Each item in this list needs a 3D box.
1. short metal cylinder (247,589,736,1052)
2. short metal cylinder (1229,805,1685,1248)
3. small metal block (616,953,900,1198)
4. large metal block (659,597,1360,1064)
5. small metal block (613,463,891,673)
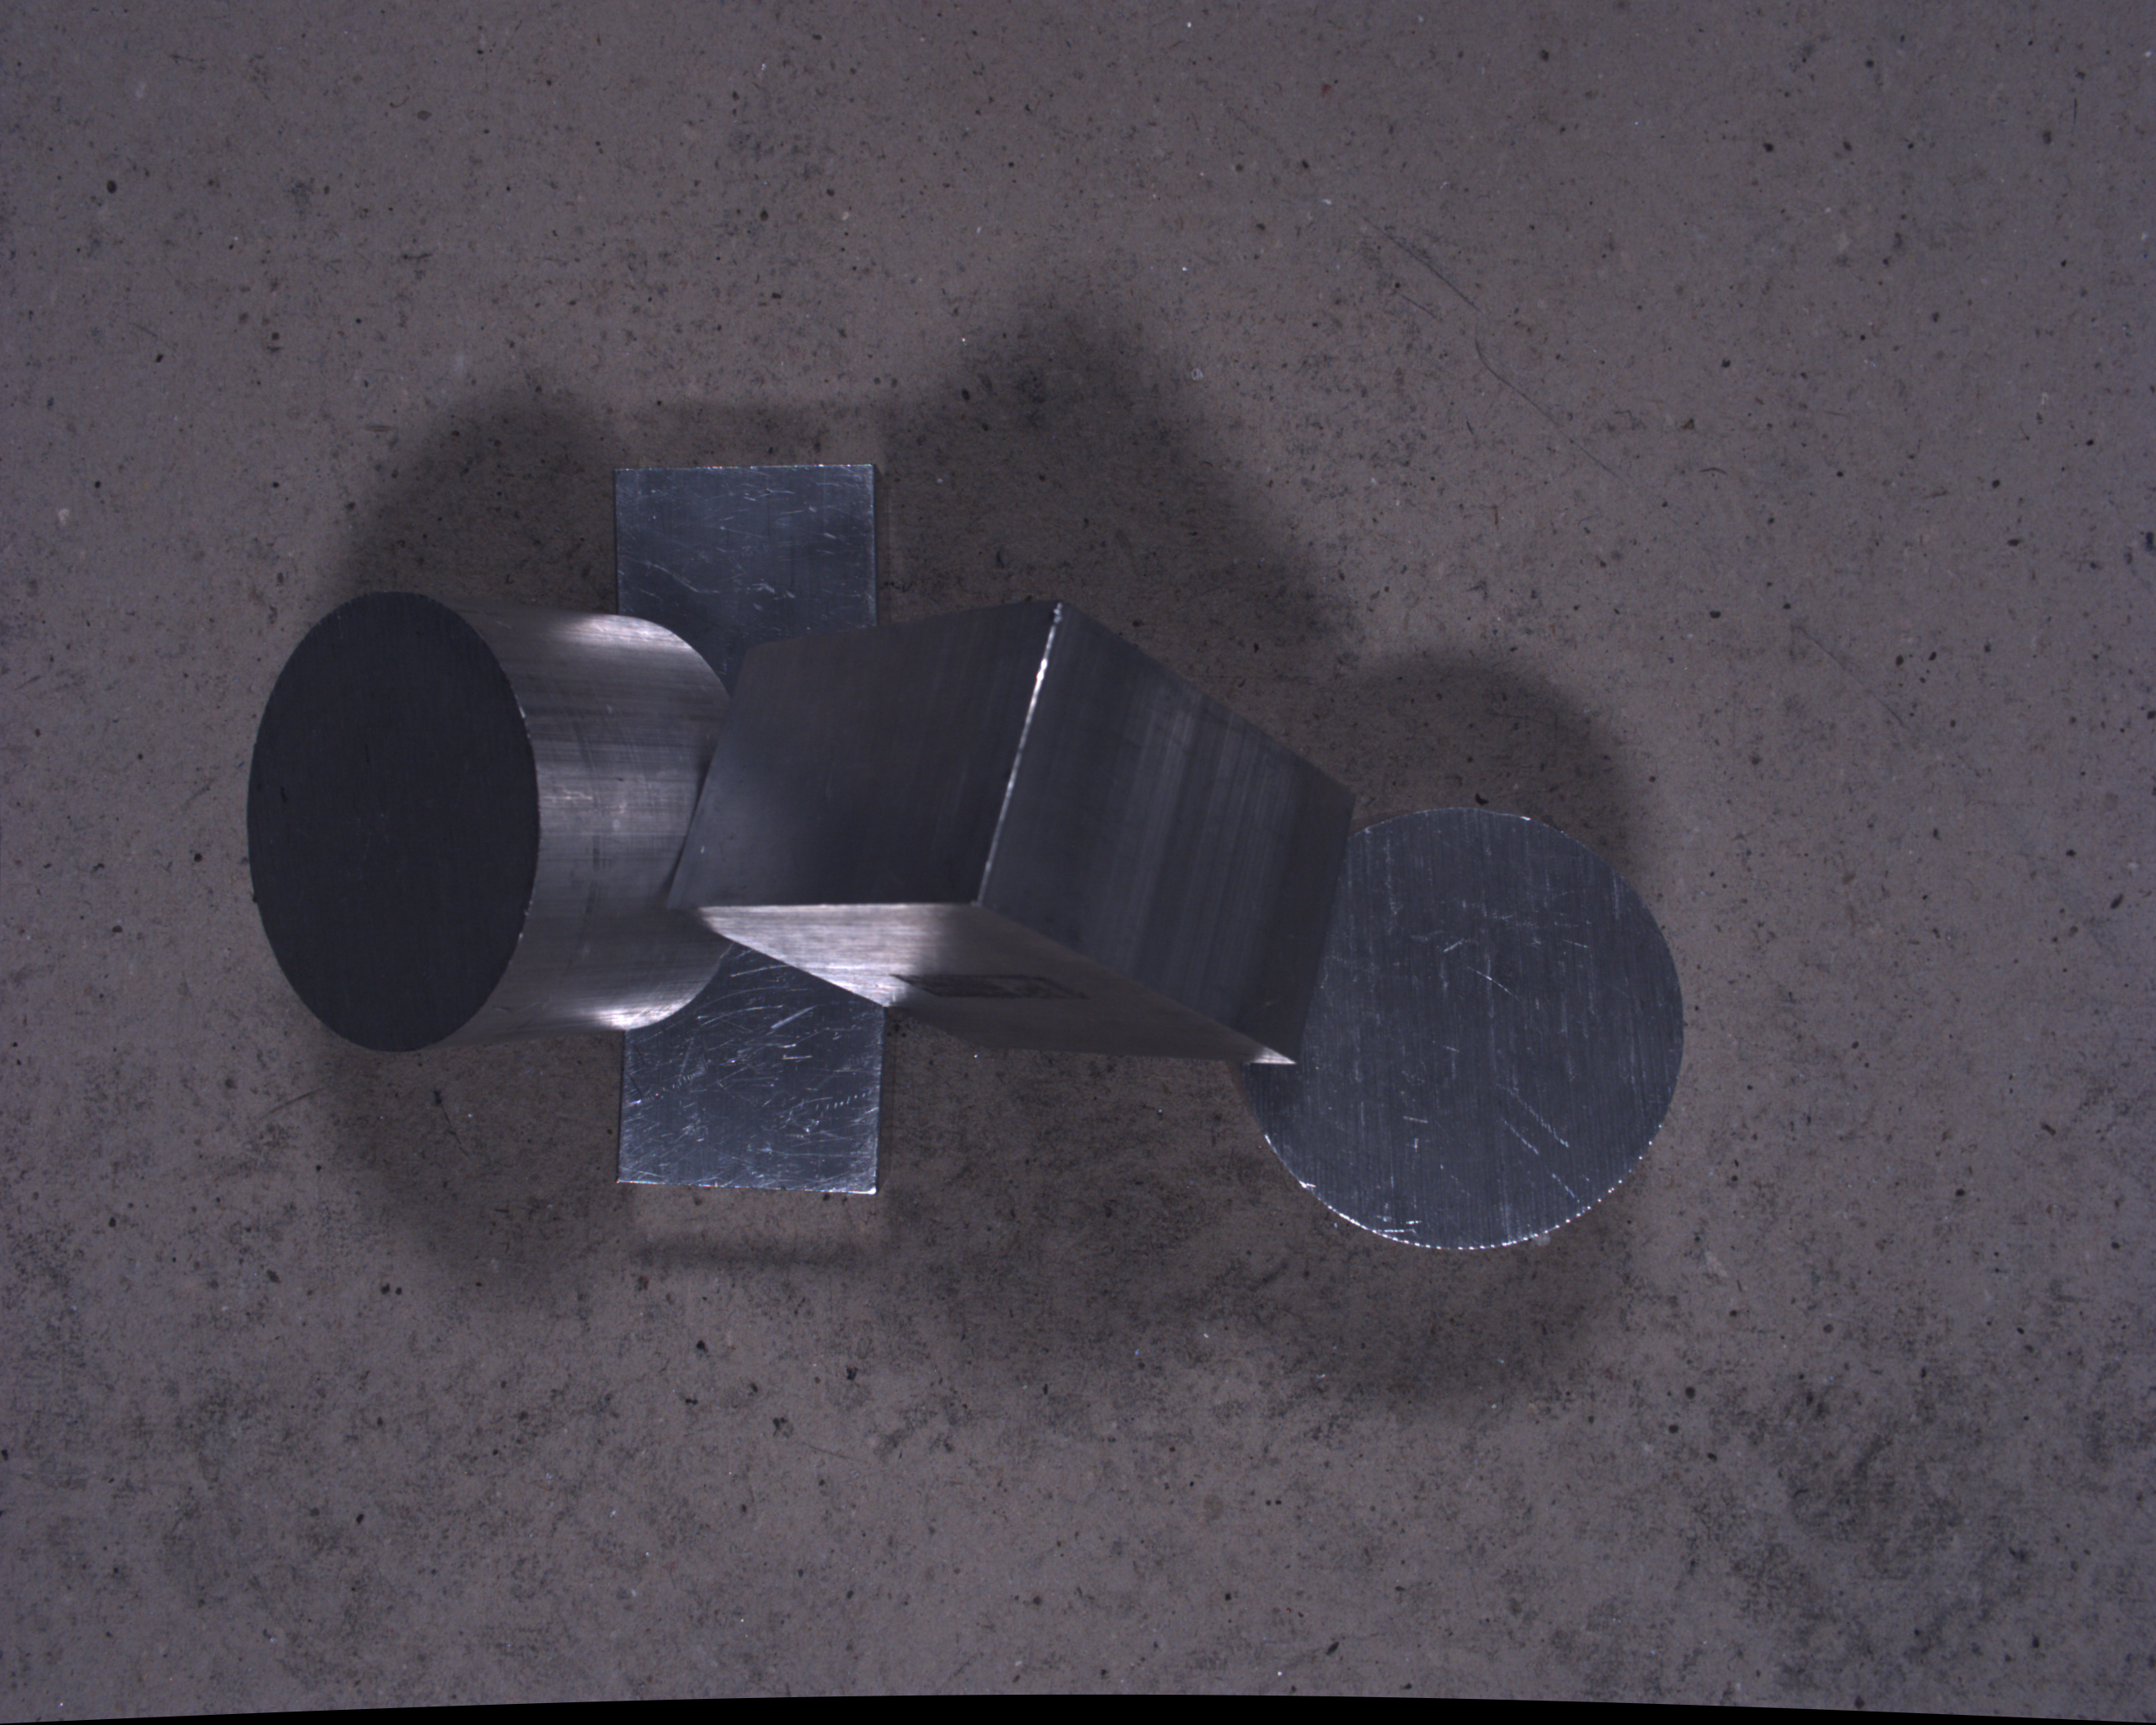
[{"bbox_3d":[-0.105,-0.008,0.379,0.080,0.050,0.079,1,91,35],"label":"short metal cylinder"},{"bbox_3d":[0.069,0.029,0.400,0.081,0.050,0.079,0,90,-1],"label":"short metal cylinder"},{"bbox_3d":[-0.062,0.038,0.410,0.050,0.025,0.050,3,90,-1],"label":"small metal block"},{"bbox_3d":[-0.011,-0.002,0.365,0.080,0.080,0.050,29,68,-42],"label":"large metal block"},{"bbox_3d":[-0.063,-0.051,0.410,0.050,0.025,0.050,-1,90,-1],"label":"small metal block"}]
